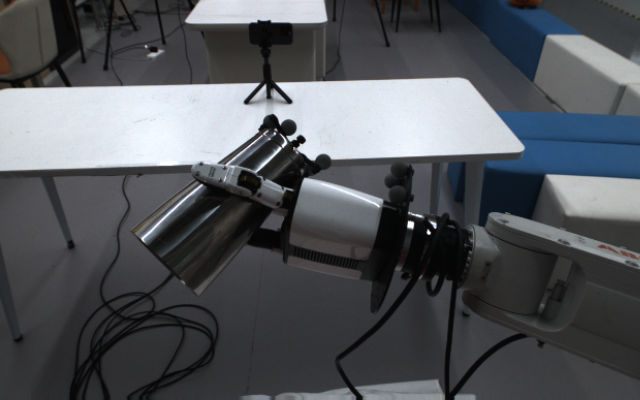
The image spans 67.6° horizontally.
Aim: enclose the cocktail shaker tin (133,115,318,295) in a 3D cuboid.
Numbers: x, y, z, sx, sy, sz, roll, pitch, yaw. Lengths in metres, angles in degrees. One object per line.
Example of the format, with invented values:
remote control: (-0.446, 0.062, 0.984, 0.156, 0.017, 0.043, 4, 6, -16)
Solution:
cocktail shaker tin: (-0.094, 0.001, 0.496, 0.093, 0.093, 0.170, 32, 65, 35)
